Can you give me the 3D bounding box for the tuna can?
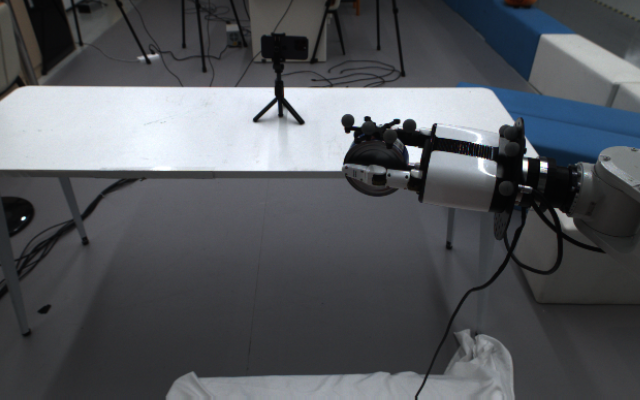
[{"bbox_3d":[0.078,-0.051,0.654,0.085,0.085,0.034,10,34,12],"label":"tuna can"}]
